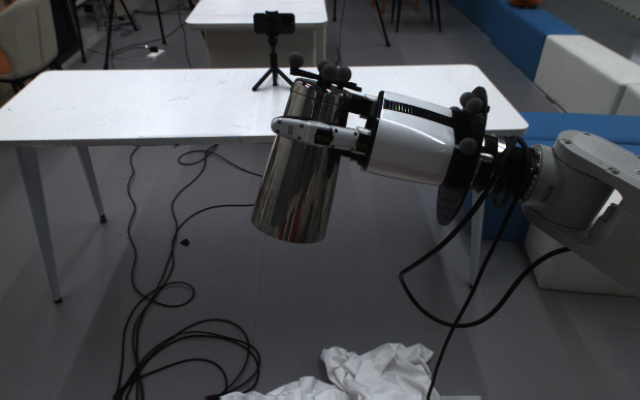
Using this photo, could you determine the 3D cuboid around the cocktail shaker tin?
[{"bbox_3d":[-0.015,-0.049,0.559,0.093,0.170,0.093,14,18,-5],"label":"cocktail shaker tin"}]
